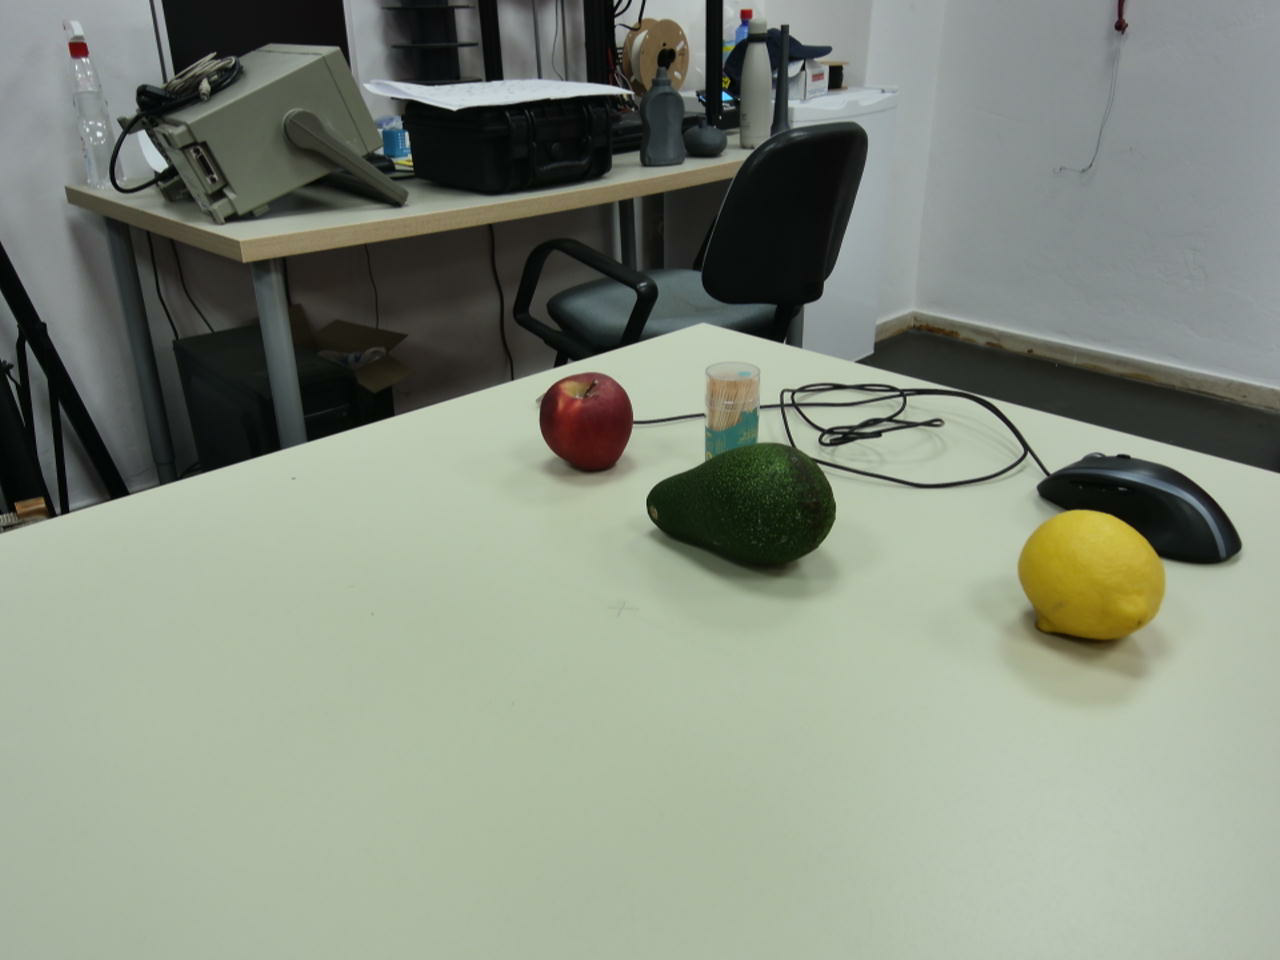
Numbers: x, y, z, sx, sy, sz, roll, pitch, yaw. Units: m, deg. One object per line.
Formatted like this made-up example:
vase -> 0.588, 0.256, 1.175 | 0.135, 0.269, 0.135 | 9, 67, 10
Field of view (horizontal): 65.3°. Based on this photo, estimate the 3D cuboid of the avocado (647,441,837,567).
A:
avocado -> 0.065, 0.009, 0.610 | 0.074, 0.076, 0.123 | -17, 29, -32
